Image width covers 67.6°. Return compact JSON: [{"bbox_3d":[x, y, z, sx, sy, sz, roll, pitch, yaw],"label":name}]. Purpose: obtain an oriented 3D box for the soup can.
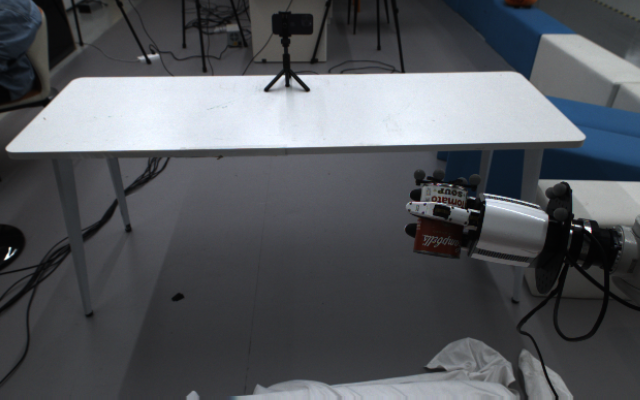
[{"bbox_3d":[0.177,0.030,0.707,0.067,0.101,0.067,9,-6,1],"label":"soup can"}]
